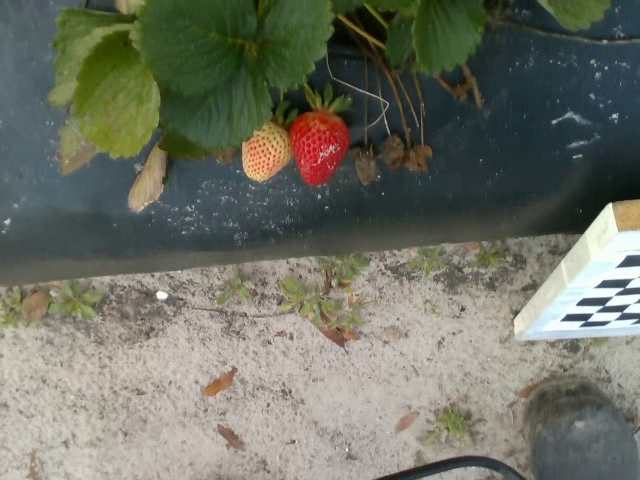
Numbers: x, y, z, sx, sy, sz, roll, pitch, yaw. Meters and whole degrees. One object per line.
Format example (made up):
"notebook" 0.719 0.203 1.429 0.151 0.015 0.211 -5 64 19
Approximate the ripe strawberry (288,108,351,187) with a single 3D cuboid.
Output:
"ripe strawberry" -0.001 -0.045 0.305 0.034 0.042 0.033 10 4 -24
